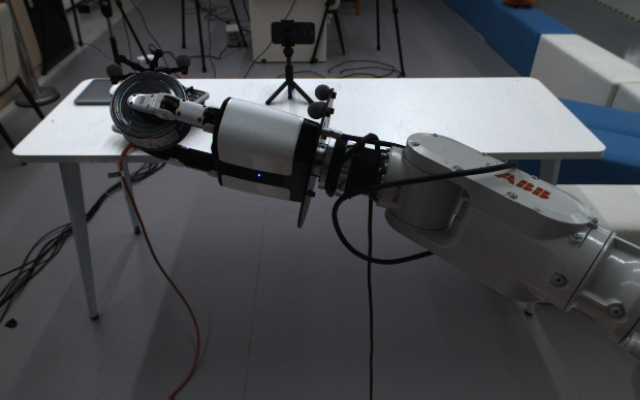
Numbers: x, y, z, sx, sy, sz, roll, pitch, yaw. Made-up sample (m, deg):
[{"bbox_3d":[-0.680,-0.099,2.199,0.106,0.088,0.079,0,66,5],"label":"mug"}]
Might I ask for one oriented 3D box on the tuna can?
[{"bbox_3d":[-0.185,-0.096,0.543,0.085,0.034,0.085,0,73,-2],"label":"tuna can"}]
